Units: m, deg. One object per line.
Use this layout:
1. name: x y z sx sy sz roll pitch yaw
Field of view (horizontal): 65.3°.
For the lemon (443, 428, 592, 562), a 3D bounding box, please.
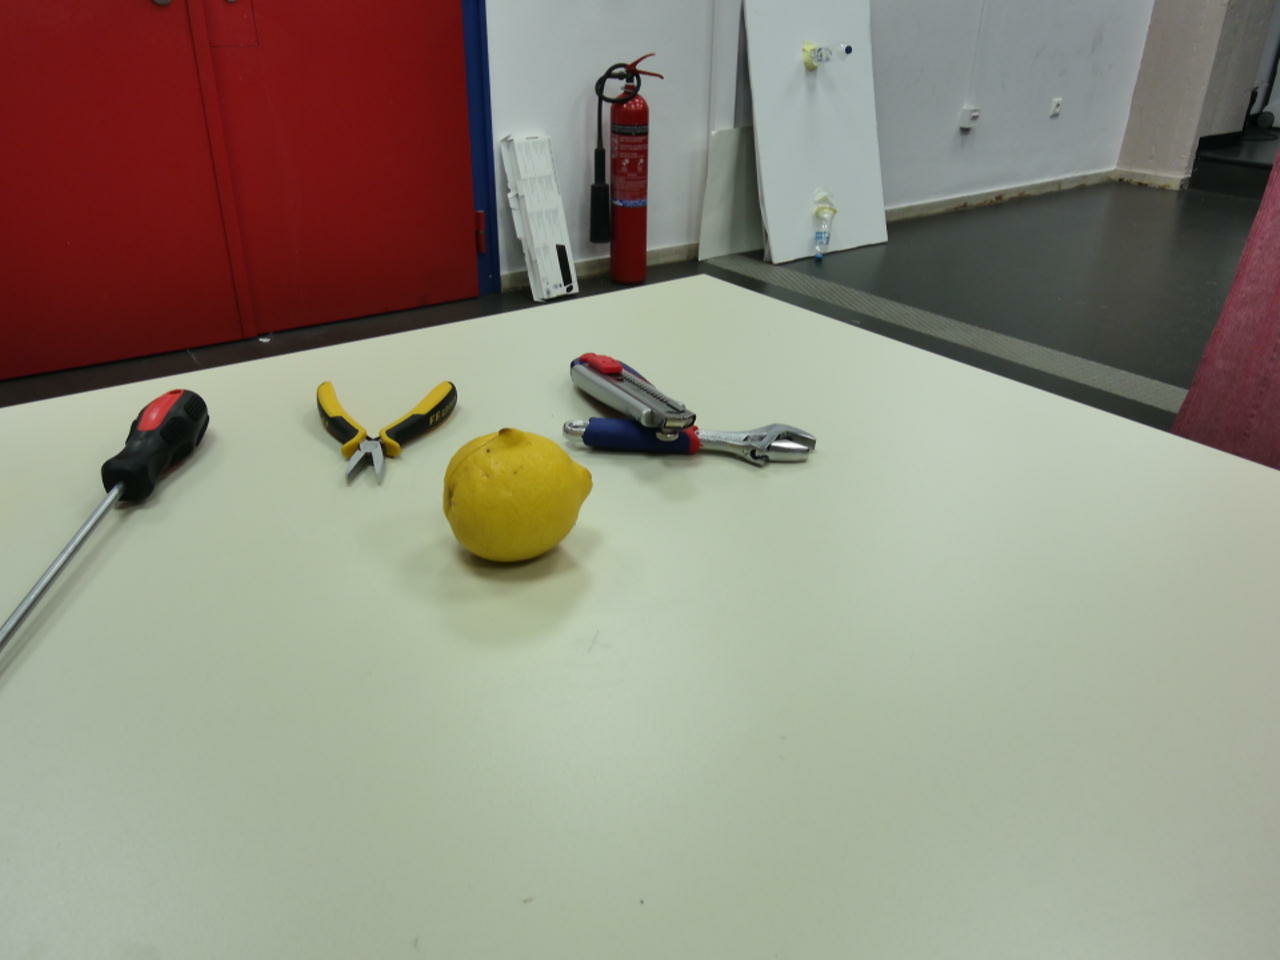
1. lemon: -0.066 0.005 0.513 0.071 0.071 0.070 8 26 17
